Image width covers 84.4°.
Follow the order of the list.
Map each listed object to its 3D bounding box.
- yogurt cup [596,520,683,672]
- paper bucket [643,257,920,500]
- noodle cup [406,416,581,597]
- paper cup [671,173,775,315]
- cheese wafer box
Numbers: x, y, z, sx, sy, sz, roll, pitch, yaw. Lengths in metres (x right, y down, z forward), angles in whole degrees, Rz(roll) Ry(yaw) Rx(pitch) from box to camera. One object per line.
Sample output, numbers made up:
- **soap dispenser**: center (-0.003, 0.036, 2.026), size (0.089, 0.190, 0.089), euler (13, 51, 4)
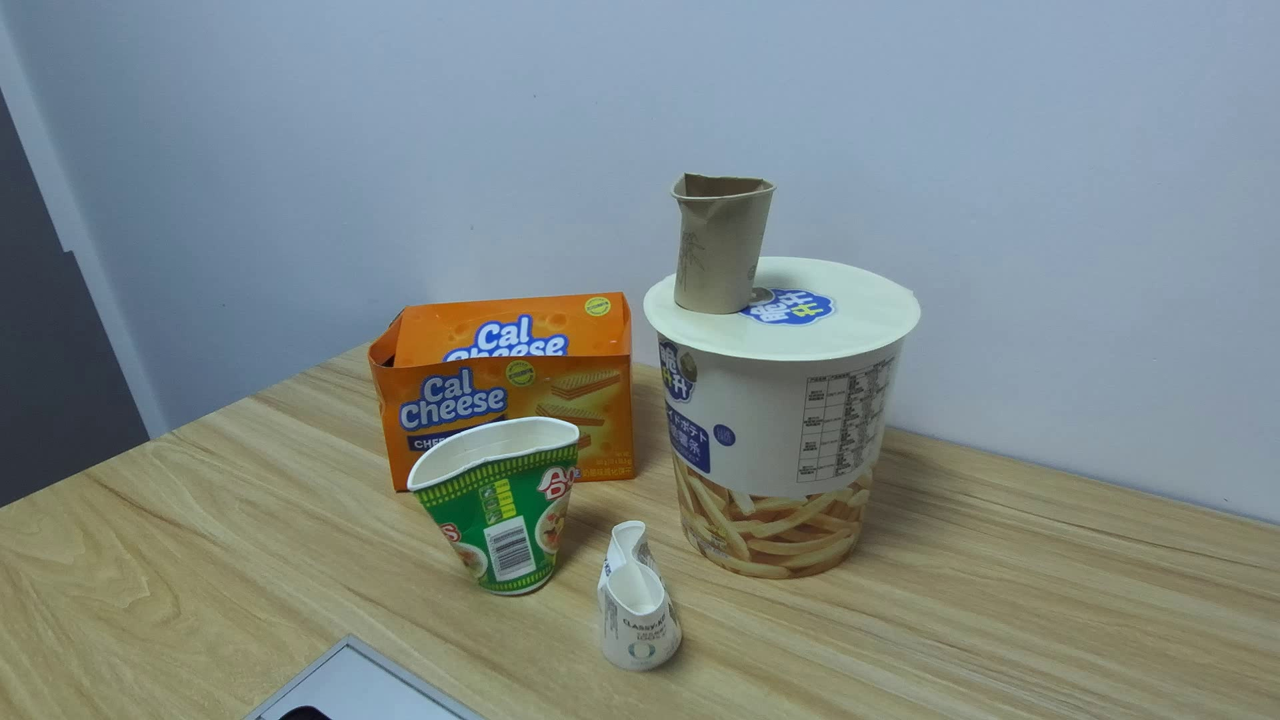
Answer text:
- **yogurt cup**: center (-0.001, 0.156, 0.457), size (0.054, 0.071, 0.075), euler (-19, 31, -28)
- **paper bucket**: center (0.100, 0.042, 0.539), size (0.198, 0.195, 0.198), euler (-2, 28, 1)
- **noodle cup**: center (-0.097, 0.108, 0.519), size (0.115, 0.111, 0.070), euler (-4, 29, -4)
- **paper cup**: center (0.053, -0.078, 0.479), size (0.071, 0.084, 0.066), euler (3, 27, 2)
- **cheese wafer box**: center (-0.120, 0.029, 0.667), size (0.230, 0.132, 0.152), euler (-3, 28, -1)
